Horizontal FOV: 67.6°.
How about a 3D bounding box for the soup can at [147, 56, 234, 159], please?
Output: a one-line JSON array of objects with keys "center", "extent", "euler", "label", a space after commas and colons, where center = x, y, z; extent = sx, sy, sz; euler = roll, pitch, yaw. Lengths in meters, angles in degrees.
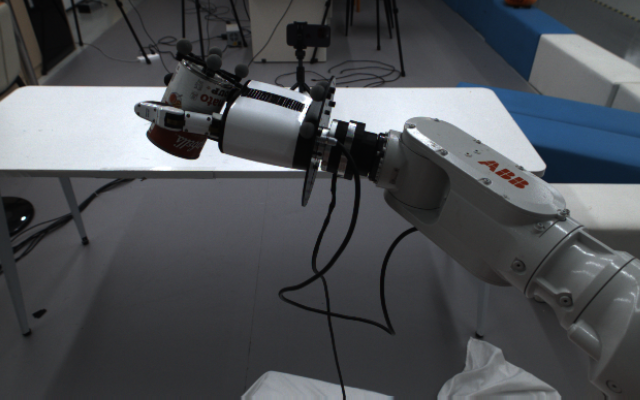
[{"center": [-0.154, -0.108, 0.575], "extent": [0.067, 0.101, 0.067], "euler": [28, 18, -10], "label": "soup can"}]
